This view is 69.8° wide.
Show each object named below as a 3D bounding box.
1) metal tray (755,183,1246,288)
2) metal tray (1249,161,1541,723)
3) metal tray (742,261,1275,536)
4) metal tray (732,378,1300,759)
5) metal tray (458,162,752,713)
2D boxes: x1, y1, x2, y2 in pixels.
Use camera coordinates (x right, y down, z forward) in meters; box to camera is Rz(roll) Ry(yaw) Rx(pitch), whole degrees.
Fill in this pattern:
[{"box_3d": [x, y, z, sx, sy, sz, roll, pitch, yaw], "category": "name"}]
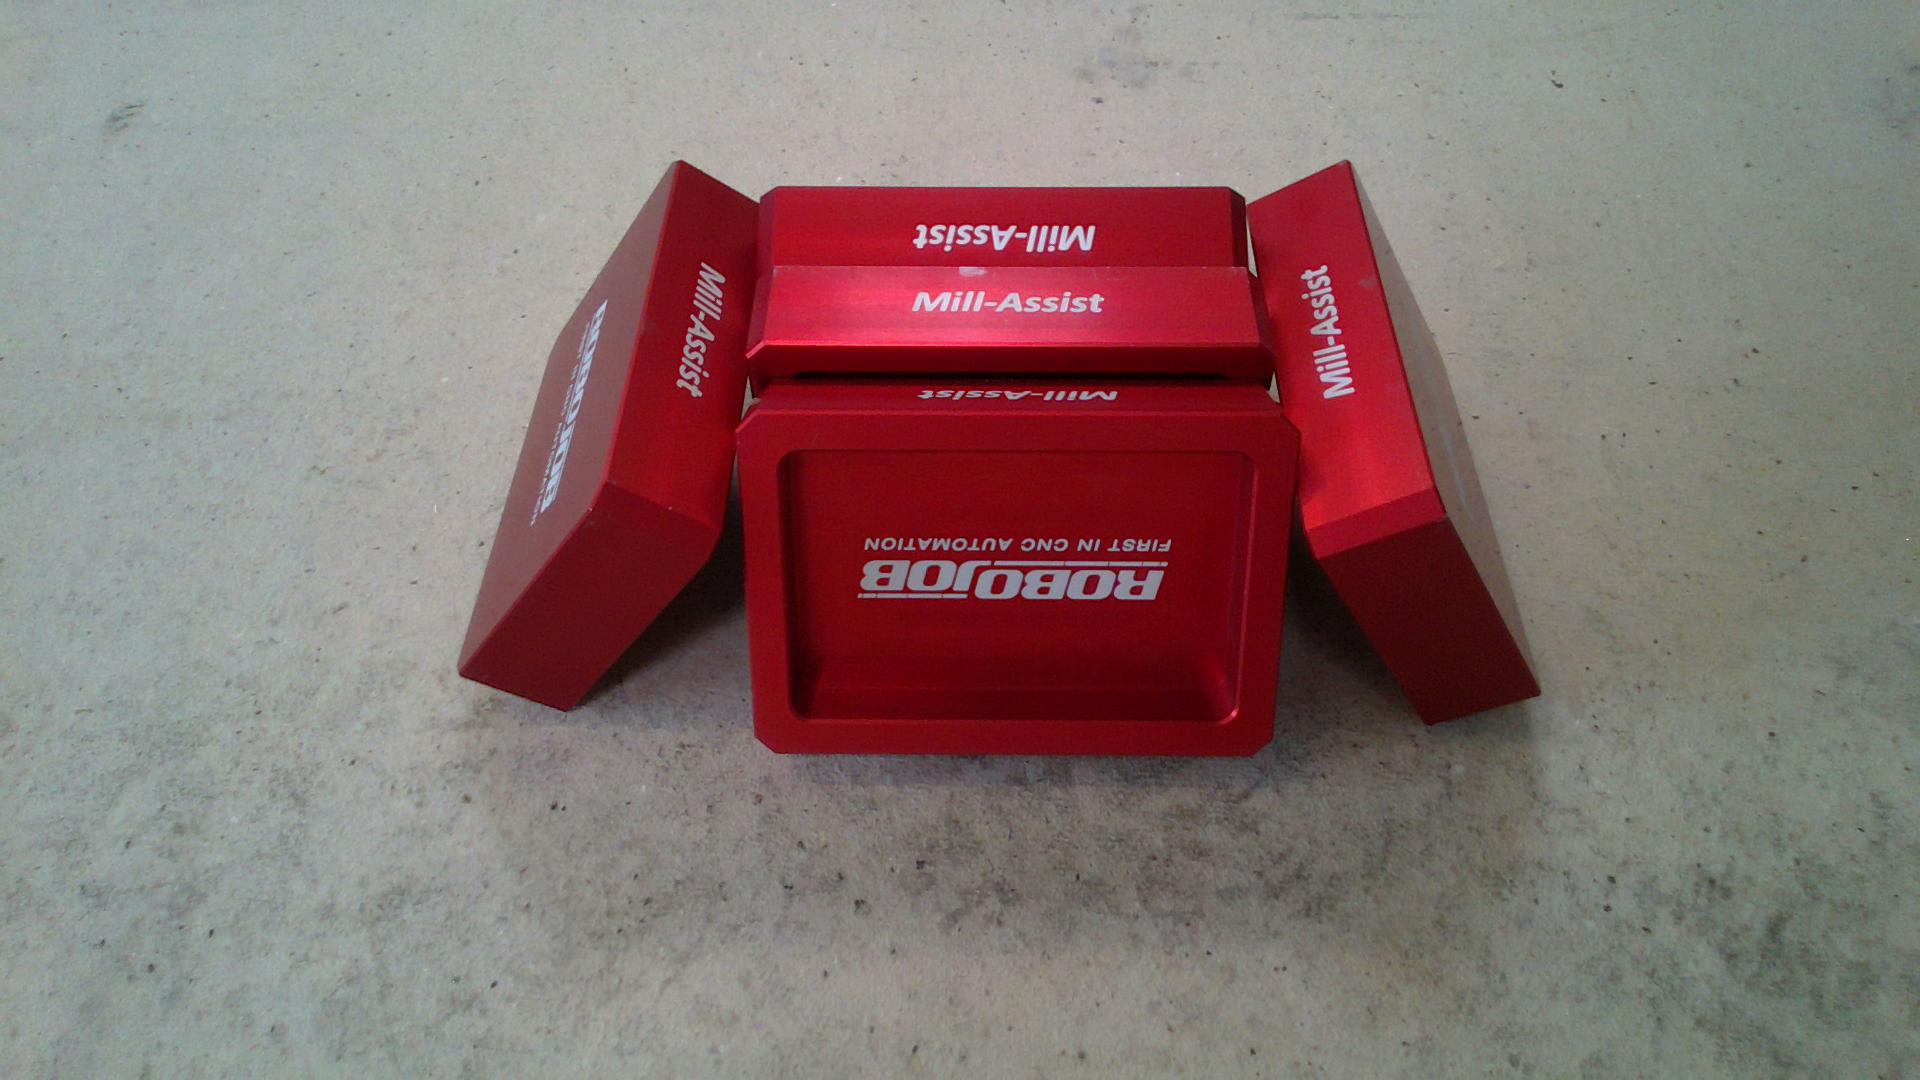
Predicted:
[{"box_3d": [0.011, -0.067, 0.403, 0.130, 0.090, 0.030, 0, 72, 0], "category": "metal tray"}, {"box_3d": [0.115, -0.028, 0.372, 0.030, 0.090, 0.130, -21, 45, 24], "category": "metal tray"}, {"box_3d": [0.012, -0.031, 0.375, 0.130, 0.090, 0.030, 0, 50, 0], "category": "metal tray"}, {"box_3d": [0.013, 0.007, 0.342, 0.130, 0.090, 0.030, 0, 21, 0], "category": "metal tray"}, {"box_3d": [-0.092, -0.030, 0.376, 0.030, 0.090, 0.130, 26, 44, -27], "category": "metal tray"}]
